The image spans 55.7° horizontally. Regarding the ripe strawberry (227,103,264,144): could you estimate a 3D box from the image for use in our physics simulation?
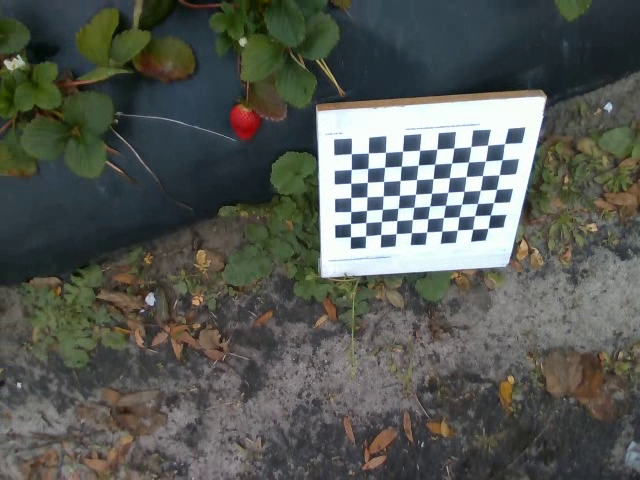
[{"bbox_3d":[-0.065,-0.100,0.505,0.028,0.033,0.023,12,32,-7],"label":"ripe strawberry"}]
